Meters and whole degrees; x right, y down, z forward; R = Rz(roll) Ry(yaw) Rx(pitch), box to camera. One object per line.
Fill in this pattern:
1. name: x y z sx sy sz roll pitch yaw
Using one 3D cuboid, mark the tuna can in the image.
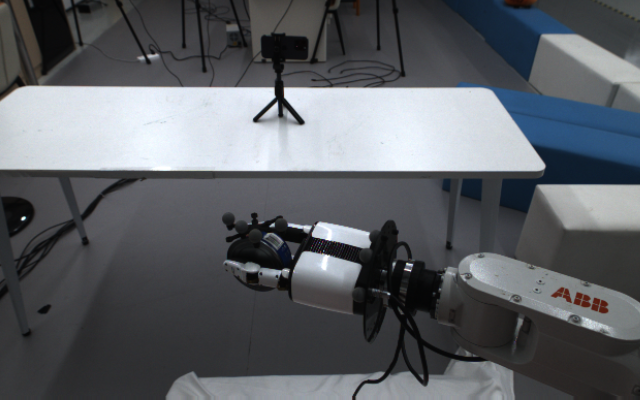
1. tuna can: -0.081 0.082 0.668 0.085 0.085 0.034 14 29 17
